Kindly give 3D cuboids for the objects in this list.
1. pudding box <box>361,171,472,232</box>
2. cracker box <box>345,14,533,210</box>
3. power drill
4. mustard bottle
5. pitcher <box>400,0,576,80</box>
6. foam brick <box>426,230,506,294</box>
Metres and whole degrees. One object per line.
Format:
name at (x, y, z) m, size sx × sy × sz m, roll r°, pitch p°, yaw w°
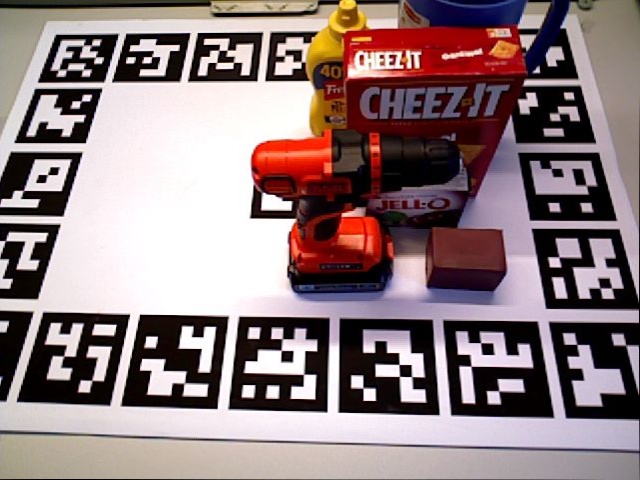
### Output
pudding box at (0.101, -0.049, 0.595) m, size 0.114 × 0.091 × 0.038 m, roll 1°, pitch 60°, yaw 6°
cracker box at (0.109, -0.118, 0.569) m, size 0.164 × 0.217 × 0.071 m, roll -1°, pitch 60°, yaw 4°
power drill at (0.035, -0.030, 0.510) m, size 0.184 × 0.190 × 0.056 m, roll 1°, pitch 58°, yaw 2°
mustard bottle at (0.028, -0.206, 0.626) m, size 0.096 × 0.194 × 0.057 m, roll 13°, pitch 64°, yaw 9°
pitcher at (0.160, -0.209, 0.607) m, size 0.189 × 0.246 × 0.131 m, roll 6°, pitch 62°, yaw 8°
foam brick at (0.156, 0.025, 0.591) m, size 0.078 × 0.052 × 0.052 m, roll 3°, pitch 64°, yaw 4°
